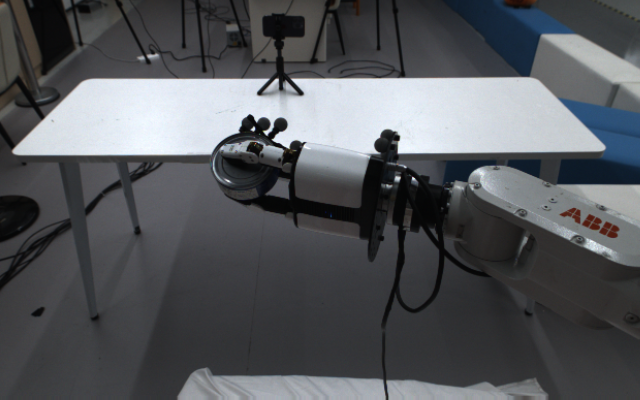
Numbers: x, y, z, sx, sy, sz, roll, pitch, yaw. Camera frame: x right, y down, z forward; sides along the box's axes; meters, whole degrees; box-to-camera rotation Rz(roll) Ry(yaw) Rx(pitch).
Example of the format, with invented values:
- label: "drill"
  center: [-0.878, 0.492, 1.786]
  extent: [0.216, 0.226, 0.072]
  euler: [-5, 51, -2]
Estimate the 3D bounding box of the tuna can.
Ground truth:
- label: "tuna can"
  center: [-0.095, -0.044, 0.626]
  extent: [0.085, 0.034, 0.085]
  euler: [-2, 60, 3]
